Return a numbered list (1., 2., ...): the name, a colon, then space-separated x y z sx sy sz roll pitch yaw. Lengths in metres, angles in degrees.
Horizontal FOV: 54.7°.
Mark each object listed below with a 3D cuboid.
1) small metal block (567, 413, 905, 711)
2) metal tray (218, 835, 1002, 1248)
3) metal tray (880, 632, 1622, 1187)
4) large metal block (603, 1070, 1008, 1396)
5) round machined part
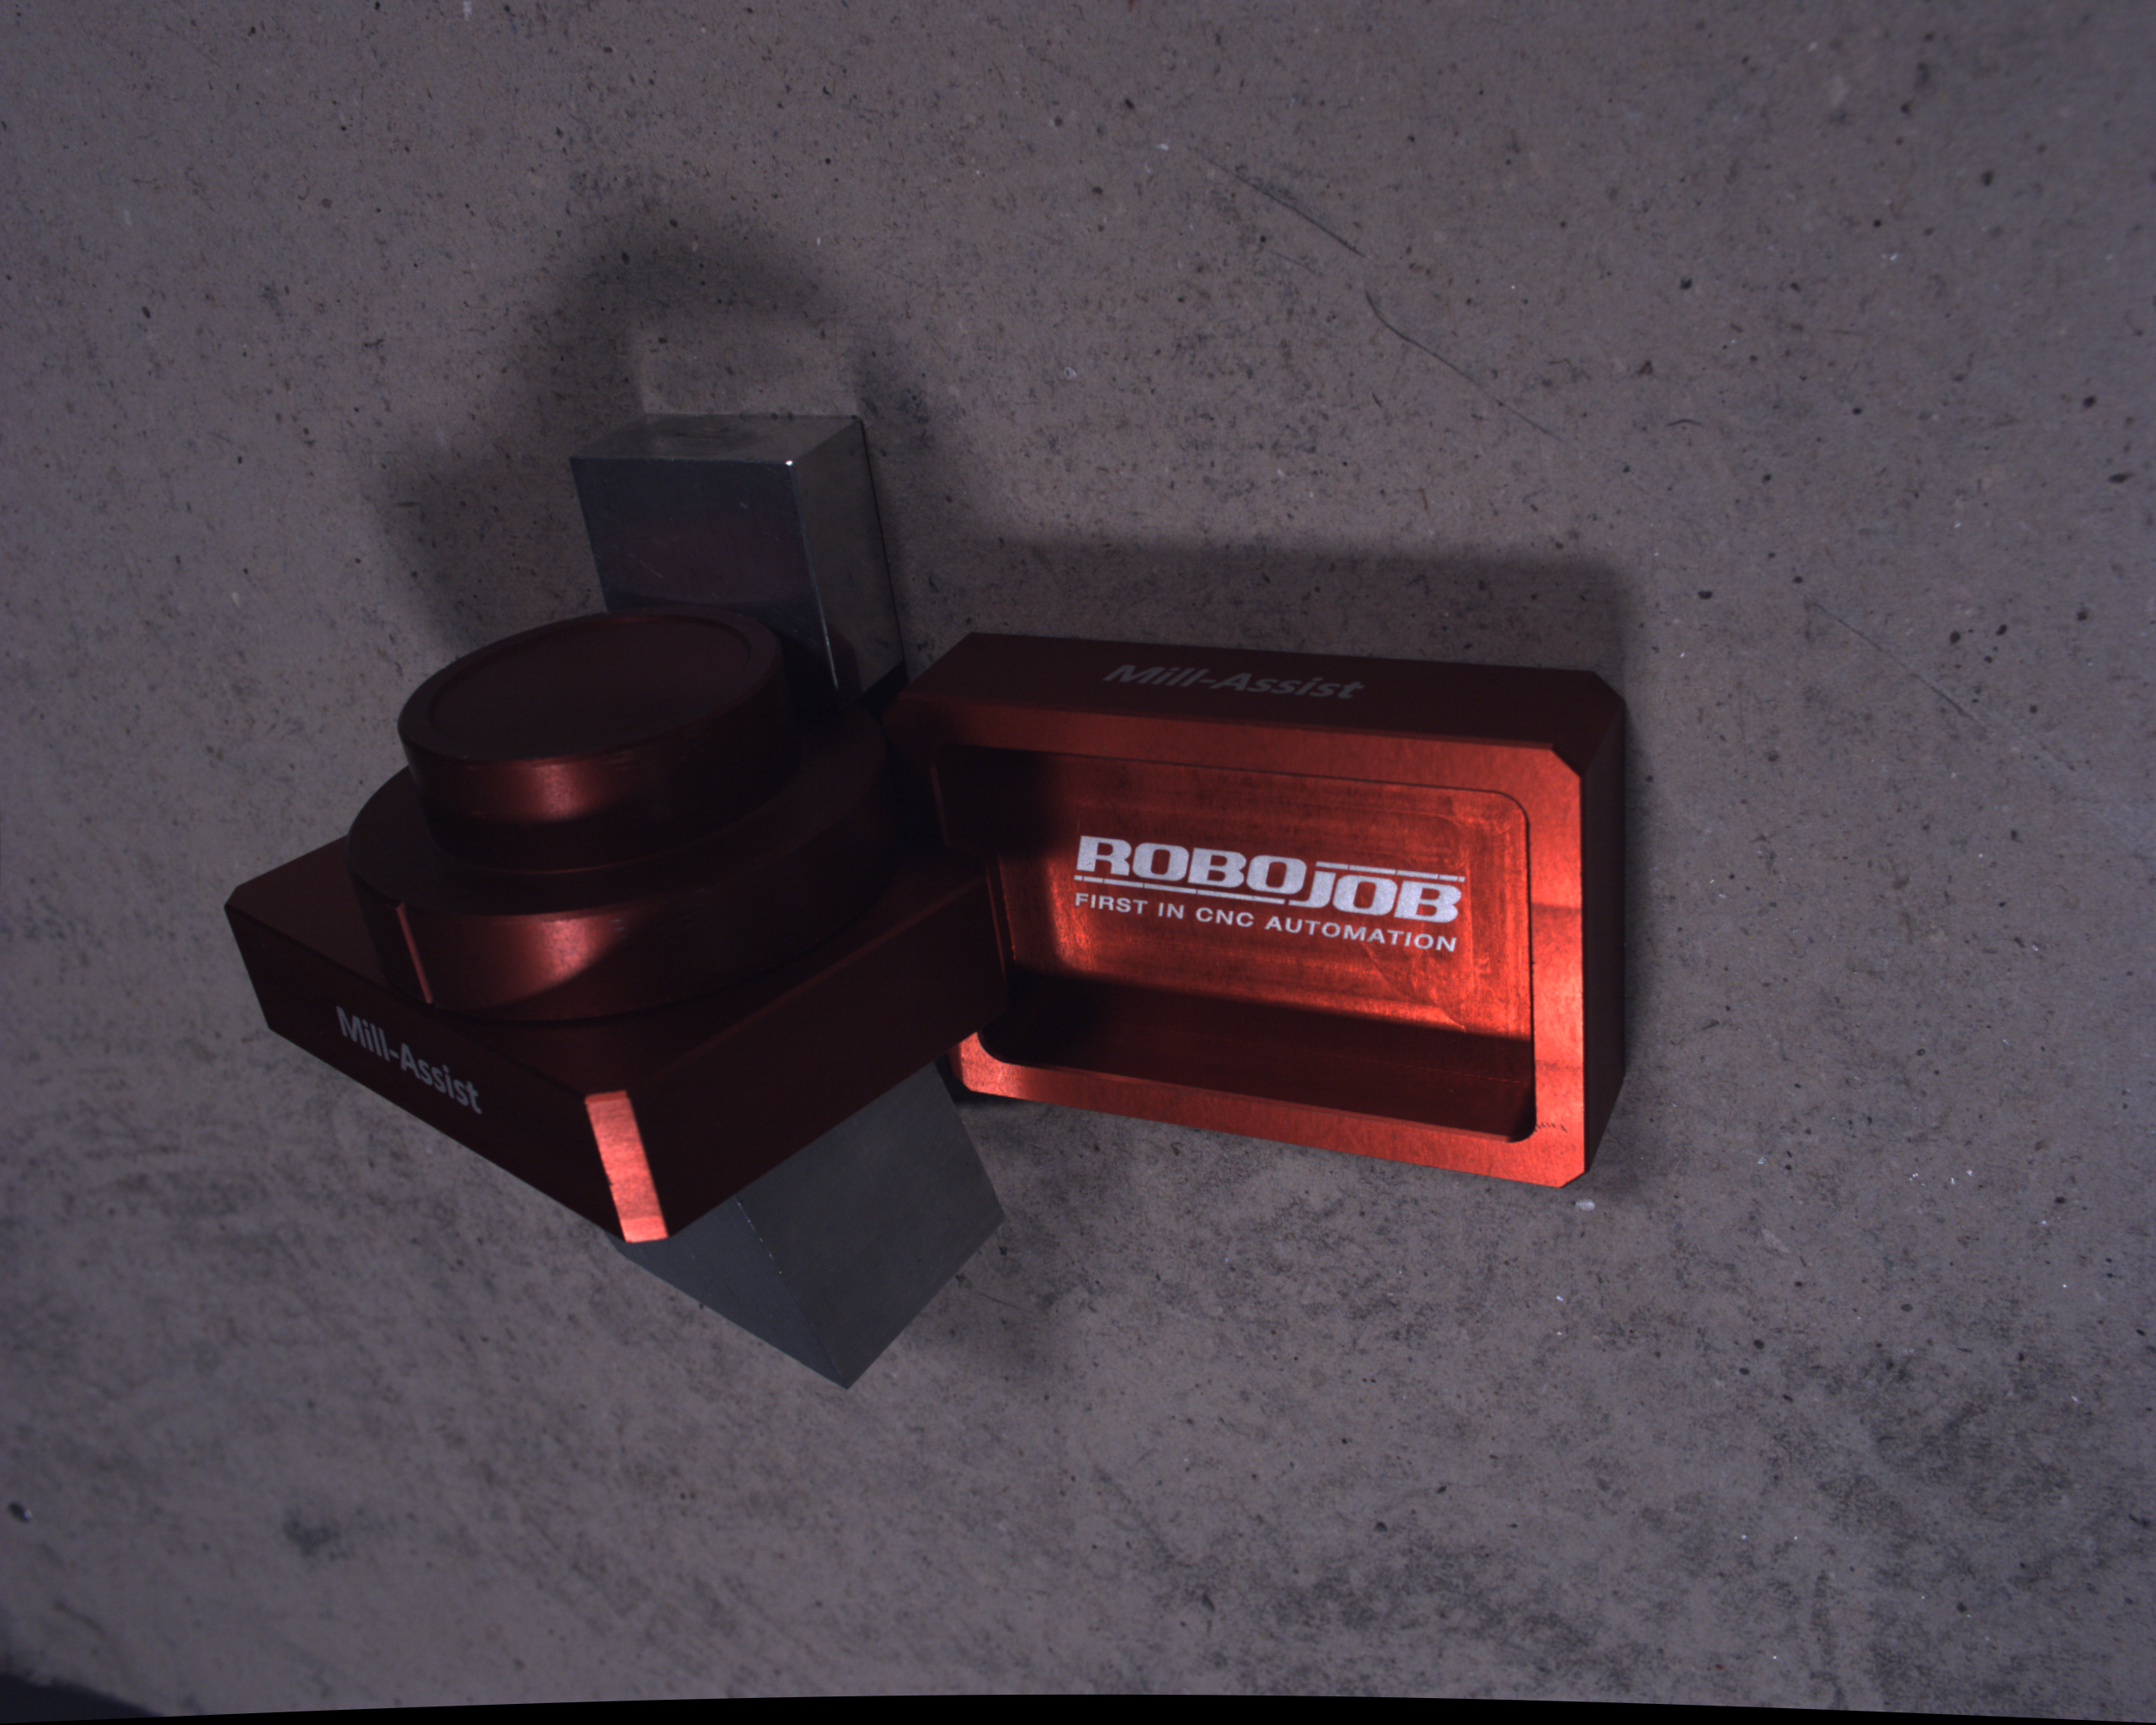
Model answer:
1. small metal block: -0.066 -0.059 0.405 0.050 0.025 0.050 6 121 24
2. metal tray: -0.091 0.017 0.400 0.130 0.091 0.030 19 128 39
3. metal tray: 0.033 0.007 0.391 0.130 0.030 0.089 6 121 24
4. large metal block: -0.071 0.054 0.437 0.080 0.050 0.080 18 141 39
5. round machined part: -0.085 -0.014 0.381 0.098 0.098 0.042 6 121 25
